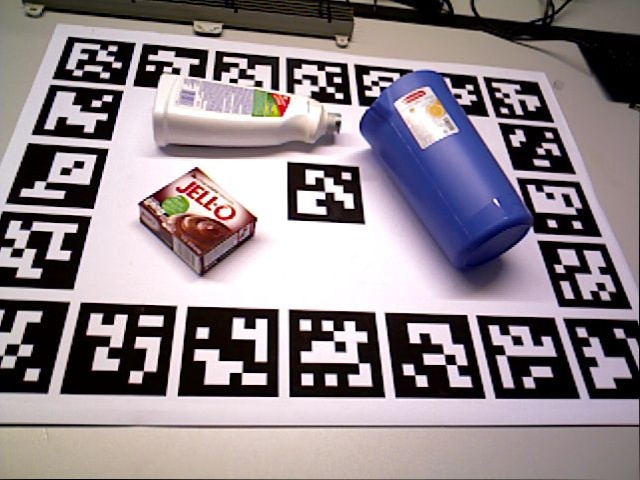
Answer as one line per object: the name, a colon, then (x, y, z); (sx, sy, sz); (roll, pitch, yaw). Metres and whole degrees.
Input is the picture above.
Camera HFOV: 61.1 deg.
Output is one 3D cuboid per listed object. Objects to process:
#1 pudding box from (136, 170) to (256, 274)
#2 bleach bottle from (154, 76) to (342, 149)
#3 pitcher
pudding box: (-0.146, -0.025, 0.638); (0.113, 0.039, 0.088); (42, 53, 16)
bleach bottle: (-0.093, -0.167, 0.735); (0.248, 0.069, 0.101); (2, 60, -11)
pitcher: (0.169, -0.073, 0.697); (0.186, 0.136, 0.241); (4, 52, -51)
